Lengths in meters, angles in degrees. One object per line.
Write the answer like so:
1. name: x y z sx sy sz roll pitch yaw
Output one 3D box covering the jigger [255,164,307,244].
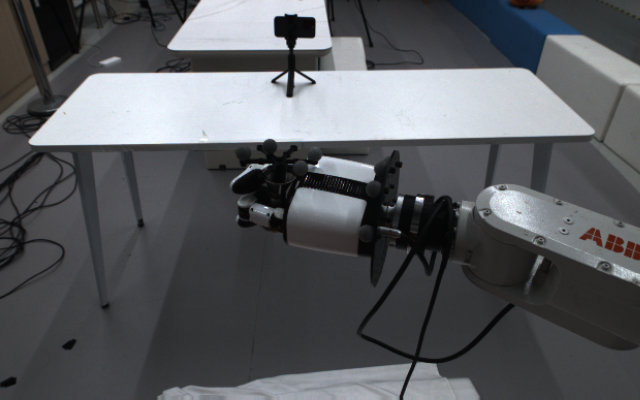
1. jigger: -0.046 -0.002 0.586 0.043 0.071 0.043 4 31 -2
